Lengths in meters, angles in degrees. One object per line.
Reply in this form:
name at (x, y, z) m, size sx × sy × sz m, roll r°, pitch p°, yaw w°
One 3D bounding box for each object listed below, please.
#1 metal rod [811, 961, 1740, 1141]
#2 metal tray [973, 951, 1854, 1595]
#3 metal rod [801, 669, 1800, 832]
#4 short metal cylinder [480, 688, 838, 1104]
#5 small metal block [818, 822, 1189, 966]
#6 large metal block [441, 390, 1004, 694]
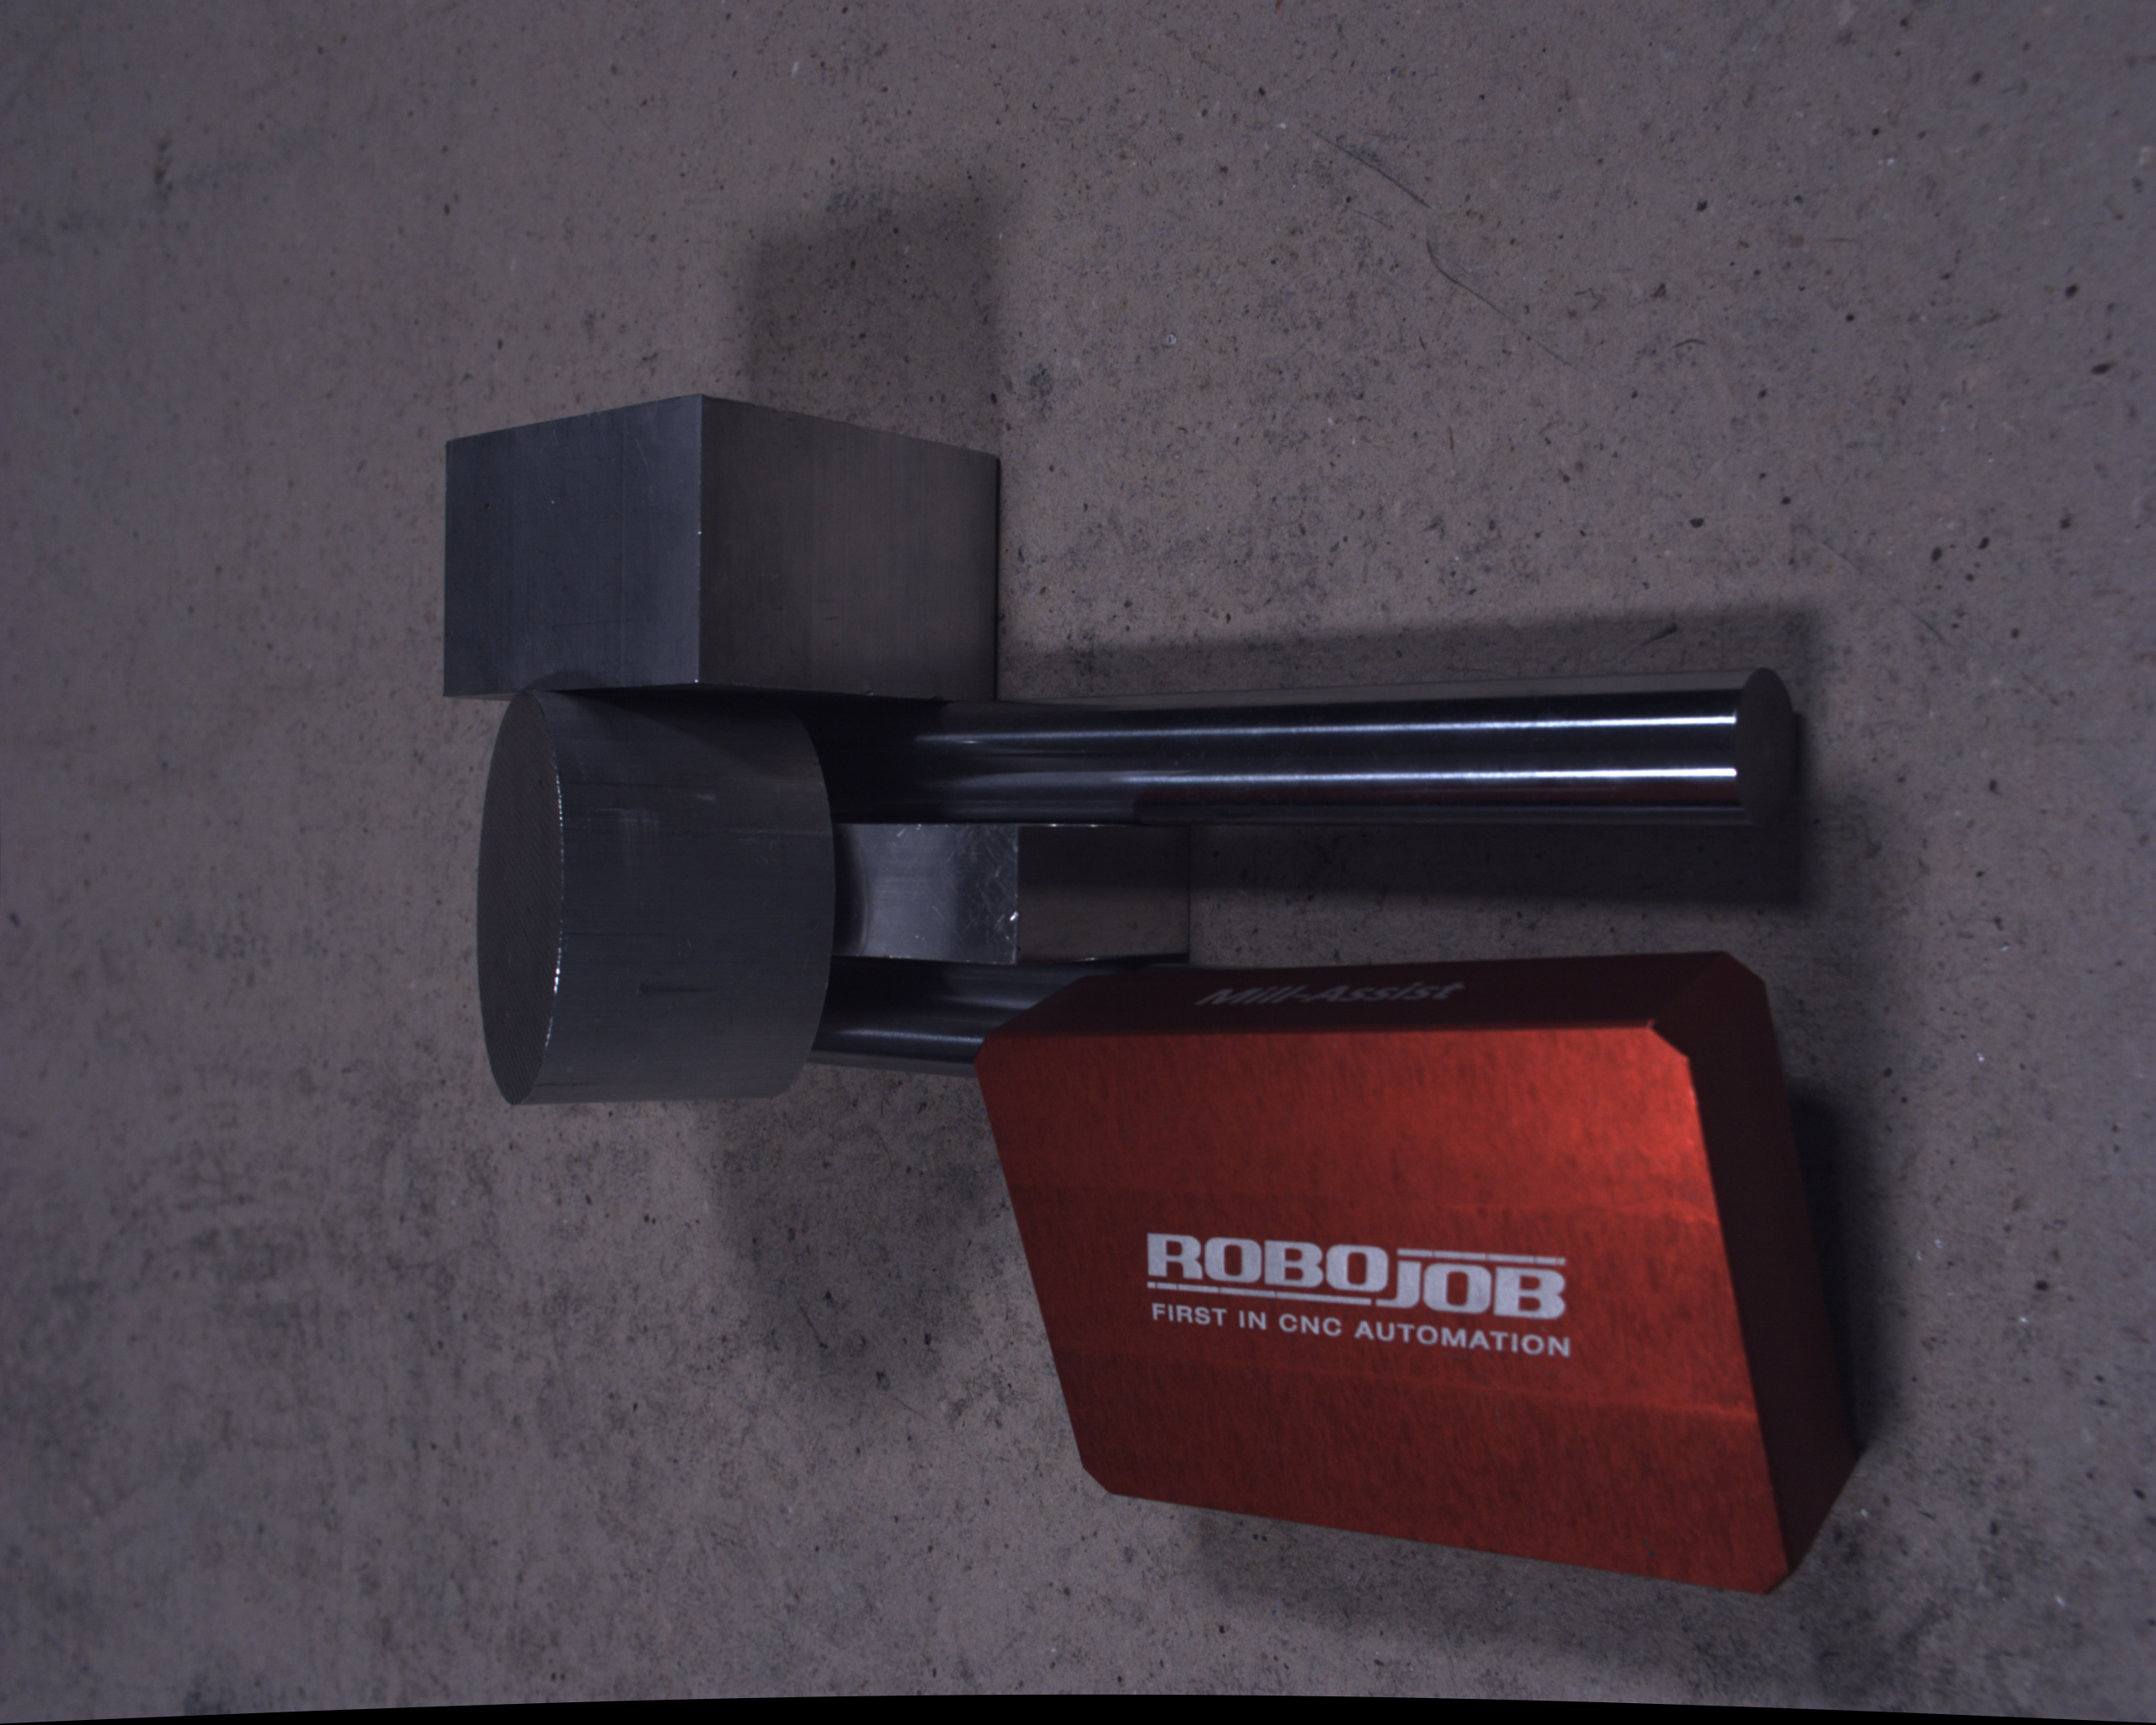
metal rod at (-0.014, 0.031, 0.416) m, size 0.300 × 0.025 × 0.025 m, roll 0°, pitch 90°, yaw 39°
metal tray at (0.050, 0.064, 0.342) m, size 0.130 × 0.030 × 0.089 m, roll -5°, pitch 105°, yaw 38°
metal rod at (-0.010, -0.020, 0.413) m, size 0.300 × 0.025 × 0.025 m, roll 1°, pitch 91°, yaw 39°
short metal cylinder at (-0.085, 0.007, 0.412) m, size 0.080 × 0.050 × 0.080 m, roll -8°, pitch 81°, yaw 63°
small metal block at (-0.014, 0.005, 0.399) m, size 0.050 × 0.050 × 0.025 m, roll 1°, pitch 91°, yaw 39°
large metal block at (-0.072, -0.061, 0.429) m, size 0.080 × 0.081 × 0.050 m, roll 1°, pitch 91°, yaw 39°
